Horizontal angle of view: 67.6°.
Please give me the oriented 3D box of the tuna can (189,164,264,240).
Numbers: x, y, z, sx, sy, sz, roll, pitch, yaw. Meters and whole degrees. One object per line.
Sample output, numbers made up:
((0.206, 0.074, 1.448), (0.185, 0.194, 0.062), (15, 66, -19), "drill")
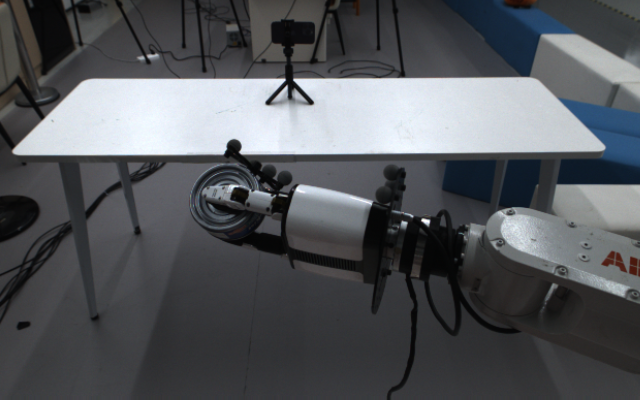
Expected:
((-0.104, 0.001, 0.560), (0.085, 0.034, 0.085), (-4, 69, 10), "tuna can")
